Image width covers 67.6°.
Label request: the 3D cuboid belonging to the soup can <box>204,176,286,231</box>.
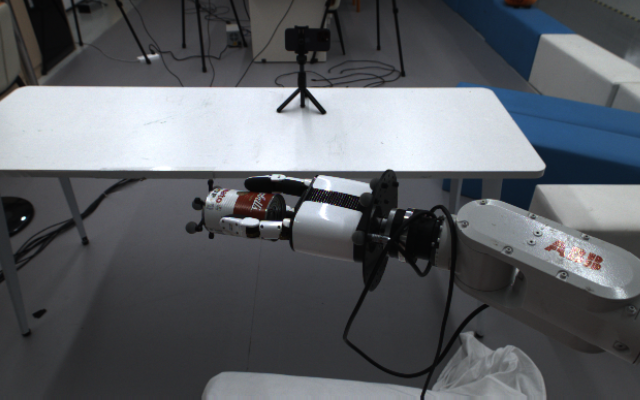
[{"bbox_3d":[-0.106,0.021,0.692,0.101,0.067,0.067,6,34,18],"label":"soup can"}]
